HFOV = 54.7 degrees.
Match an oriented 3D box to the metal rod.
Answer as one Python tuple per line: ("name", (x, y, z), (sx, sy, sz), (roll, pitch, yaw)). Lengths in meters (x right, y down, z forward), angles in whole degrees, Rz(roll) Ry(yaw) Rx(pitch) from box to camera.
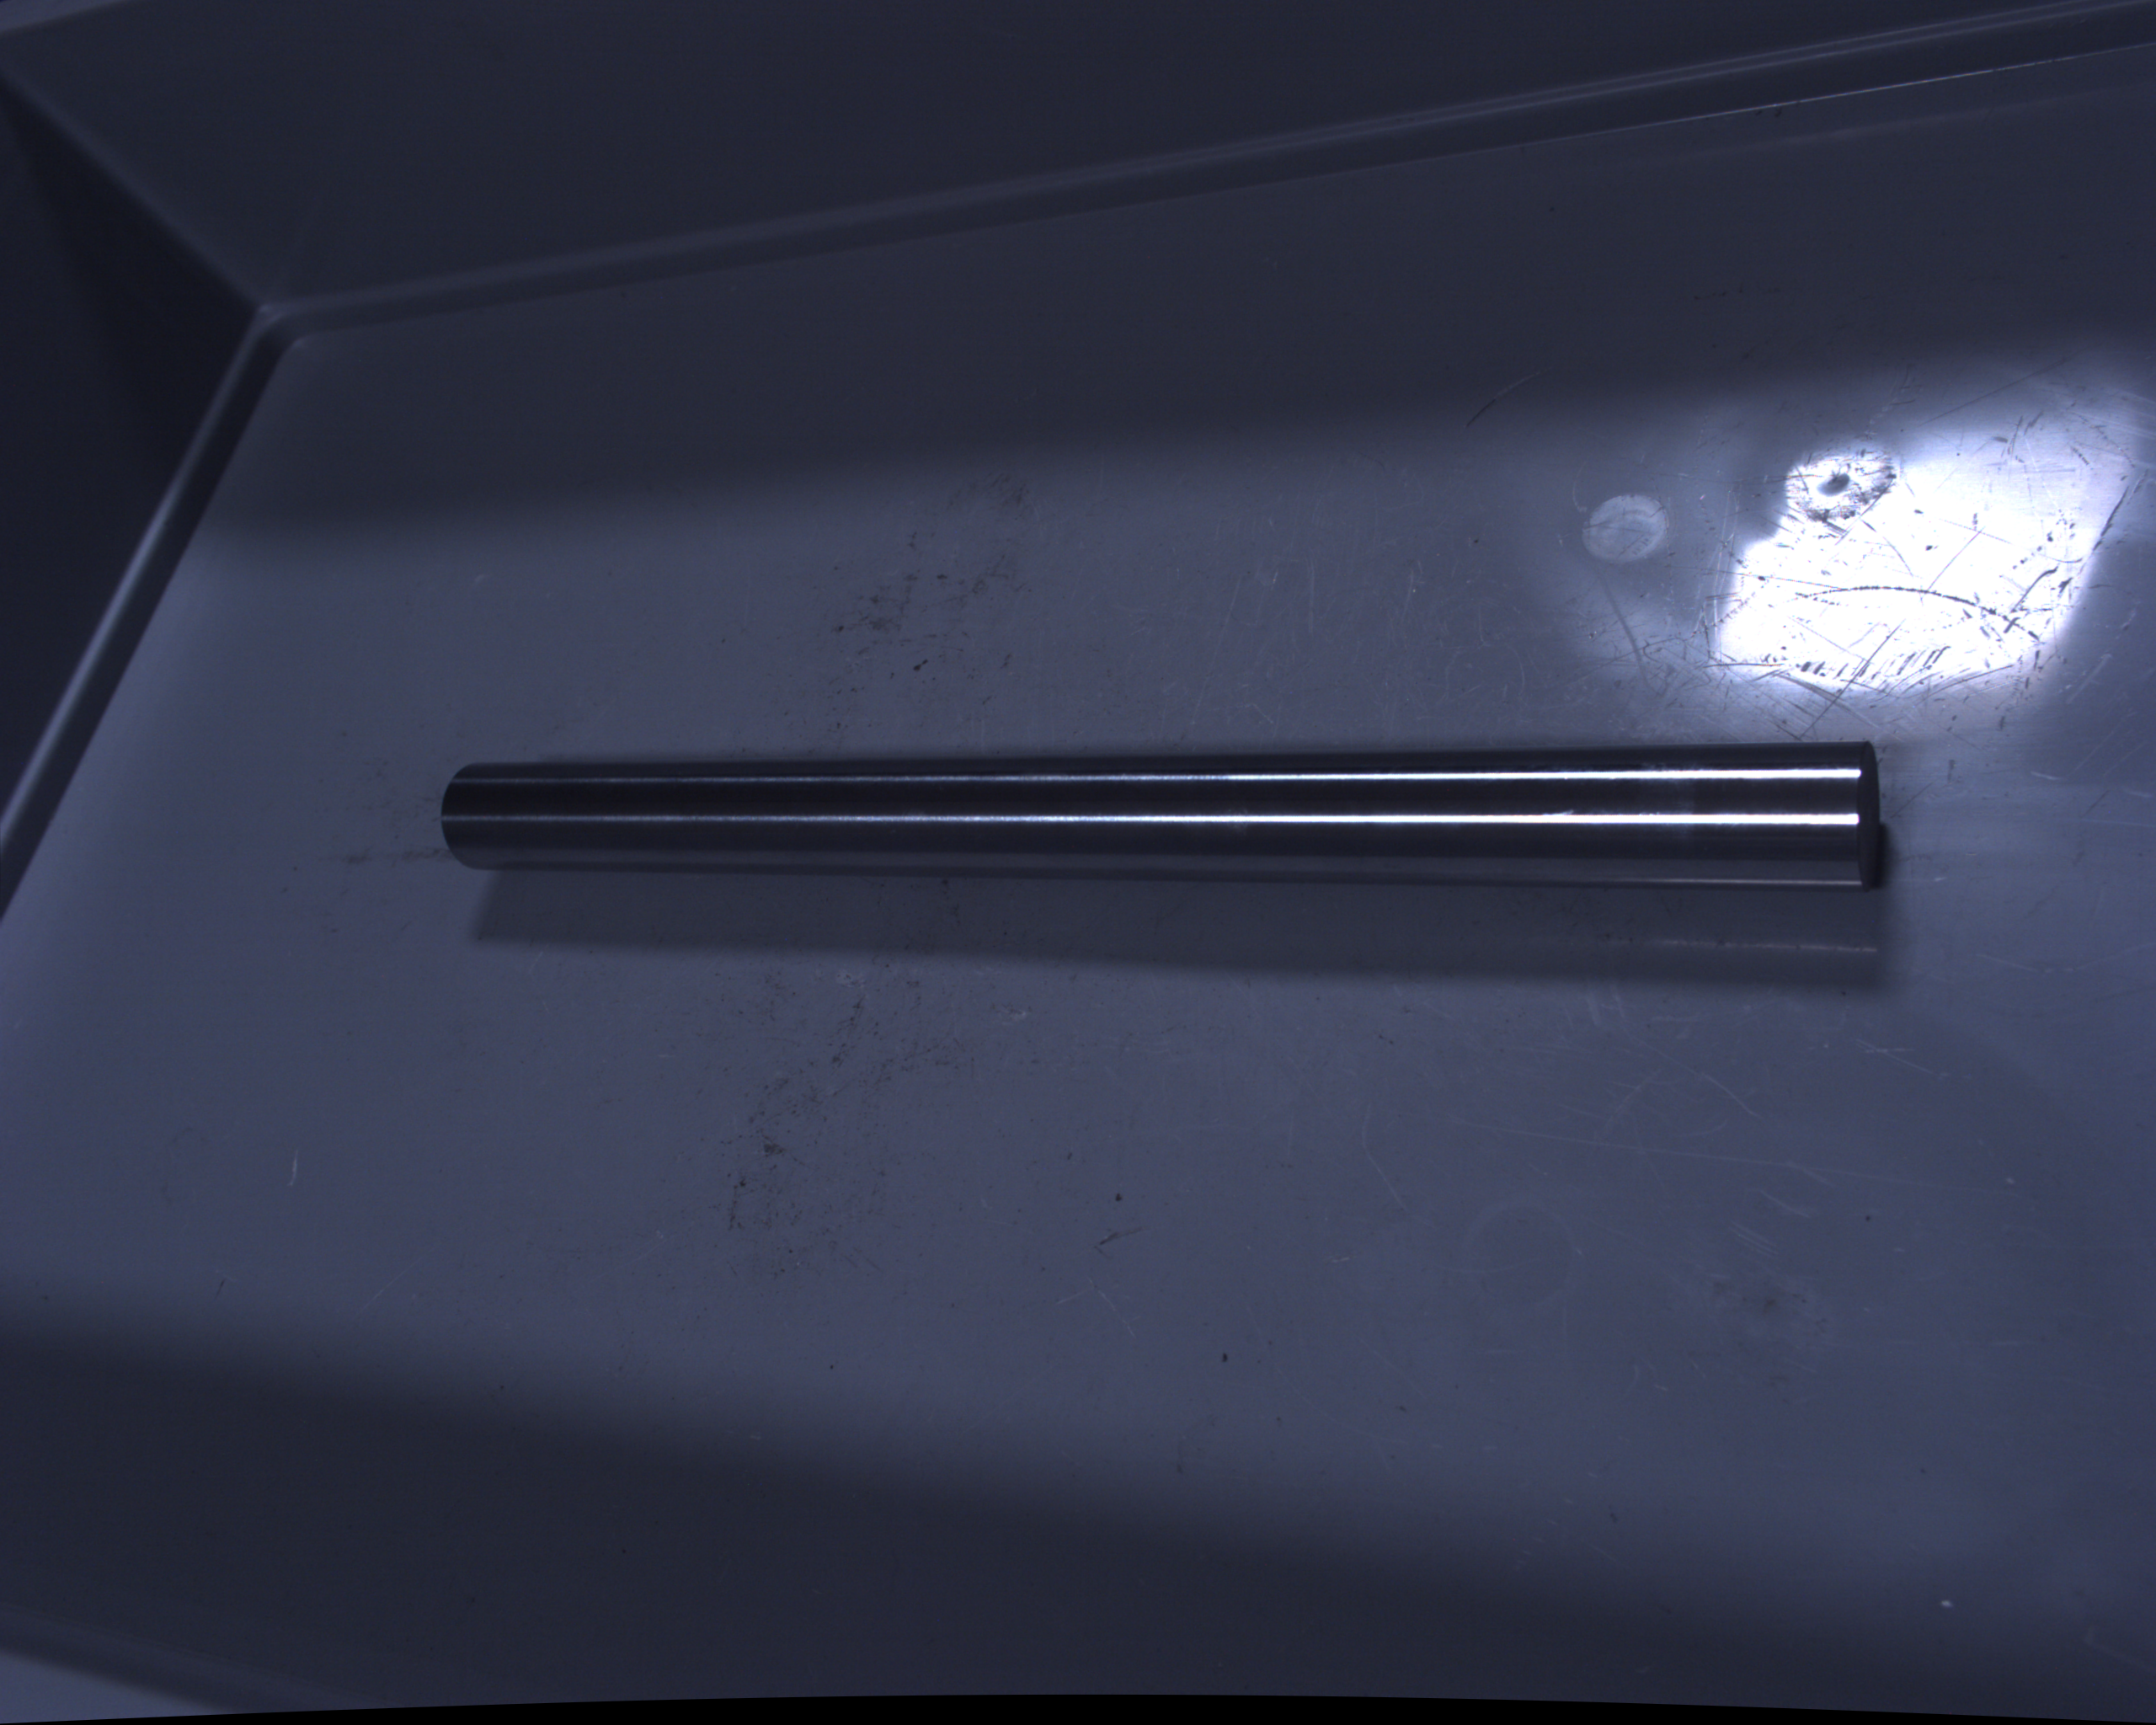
("metal rod", (-0.004, -0.009, 0.409), (0.300, 0.025, 0.025), (1, 62, 28))
